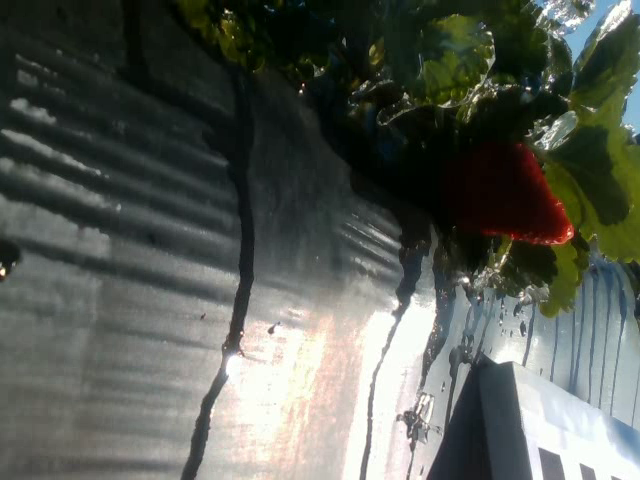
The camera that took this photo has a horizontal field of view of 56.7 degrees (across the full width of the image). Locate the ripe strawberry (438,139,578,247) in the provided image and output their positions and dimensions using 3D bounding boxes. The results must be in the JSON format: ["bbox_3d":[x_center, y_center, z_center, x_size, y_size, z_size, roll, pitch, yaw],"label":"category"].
[{"bbox_3d":[0.071,-0.013,0.215,0.041,0.047,0.053,23,16,-42],"label":"ripe strawberry"}]
